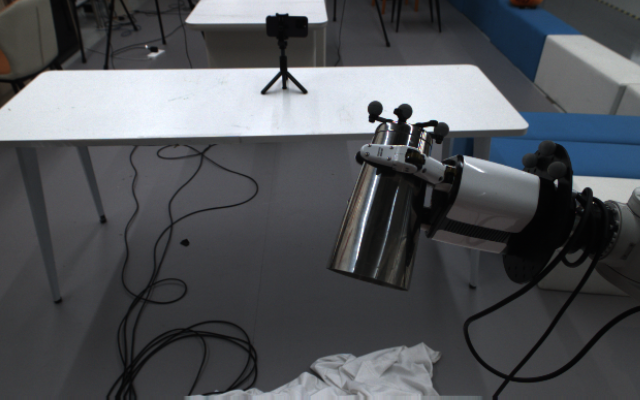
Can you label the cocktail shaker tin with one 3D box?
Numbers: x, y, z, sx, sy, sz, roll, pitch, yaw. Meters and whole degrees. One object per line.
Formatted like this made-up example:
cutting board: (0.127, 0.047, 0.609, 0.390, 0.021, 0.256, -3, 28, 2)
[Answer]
cocktail shaker tin: (0.076, 0.003, 0.535, 0.093, 0.093, 0.170, 13, 79, 15)
